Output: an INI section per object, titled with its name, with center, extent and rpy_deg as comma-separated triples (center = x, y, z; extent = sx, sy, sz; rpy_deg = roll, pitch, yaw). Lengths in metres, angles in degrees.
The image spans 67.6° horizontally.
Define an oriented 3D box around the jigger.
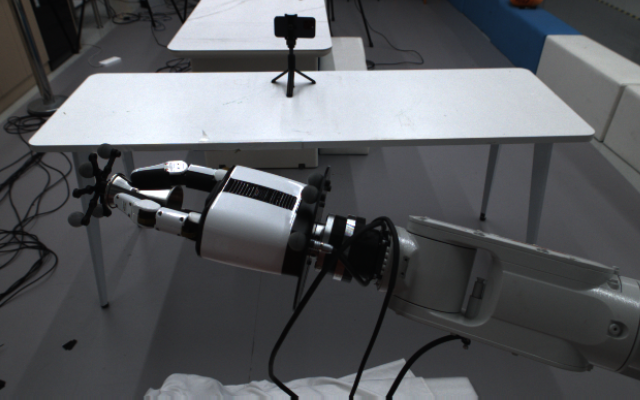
[jigger]
center = -0.181, -0.004, 0.519
extent = 0.071, 0.043, 0.043
rpy_deg = 14, 36, 5
